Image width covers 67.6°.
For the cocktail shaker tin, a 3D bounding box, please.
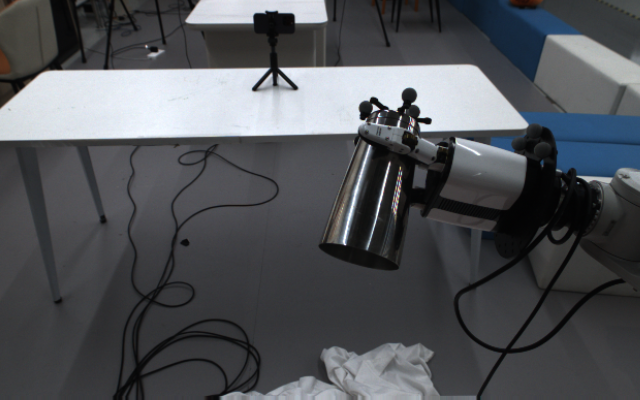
[{"bbox_3d":[0.067,-0.017,0.560,0.093,0.093,0.170,12,72,14],"label":"cocktail shaker tin"}]
